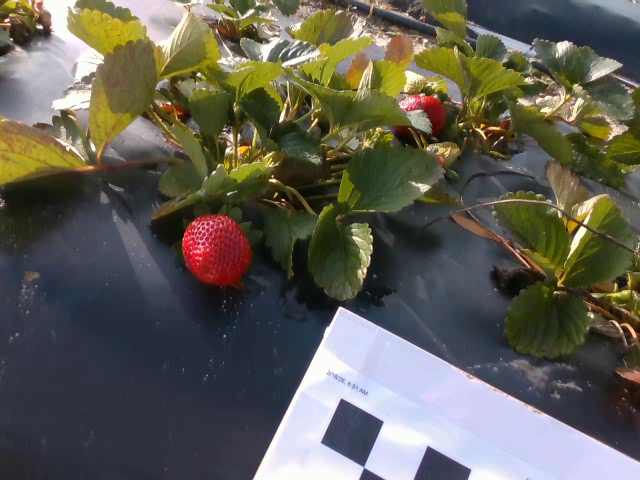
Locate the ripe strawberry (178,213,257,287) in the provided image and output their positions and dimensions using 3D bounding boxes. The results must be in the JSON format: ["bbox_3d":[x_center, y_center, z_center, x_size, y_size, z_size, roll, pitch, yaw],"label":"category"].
[{"bbox_3d":[-0.049,0.006,0.284,0.041,0.041,0.047,-4,16,9],"label":"ripe strawberry"}]
